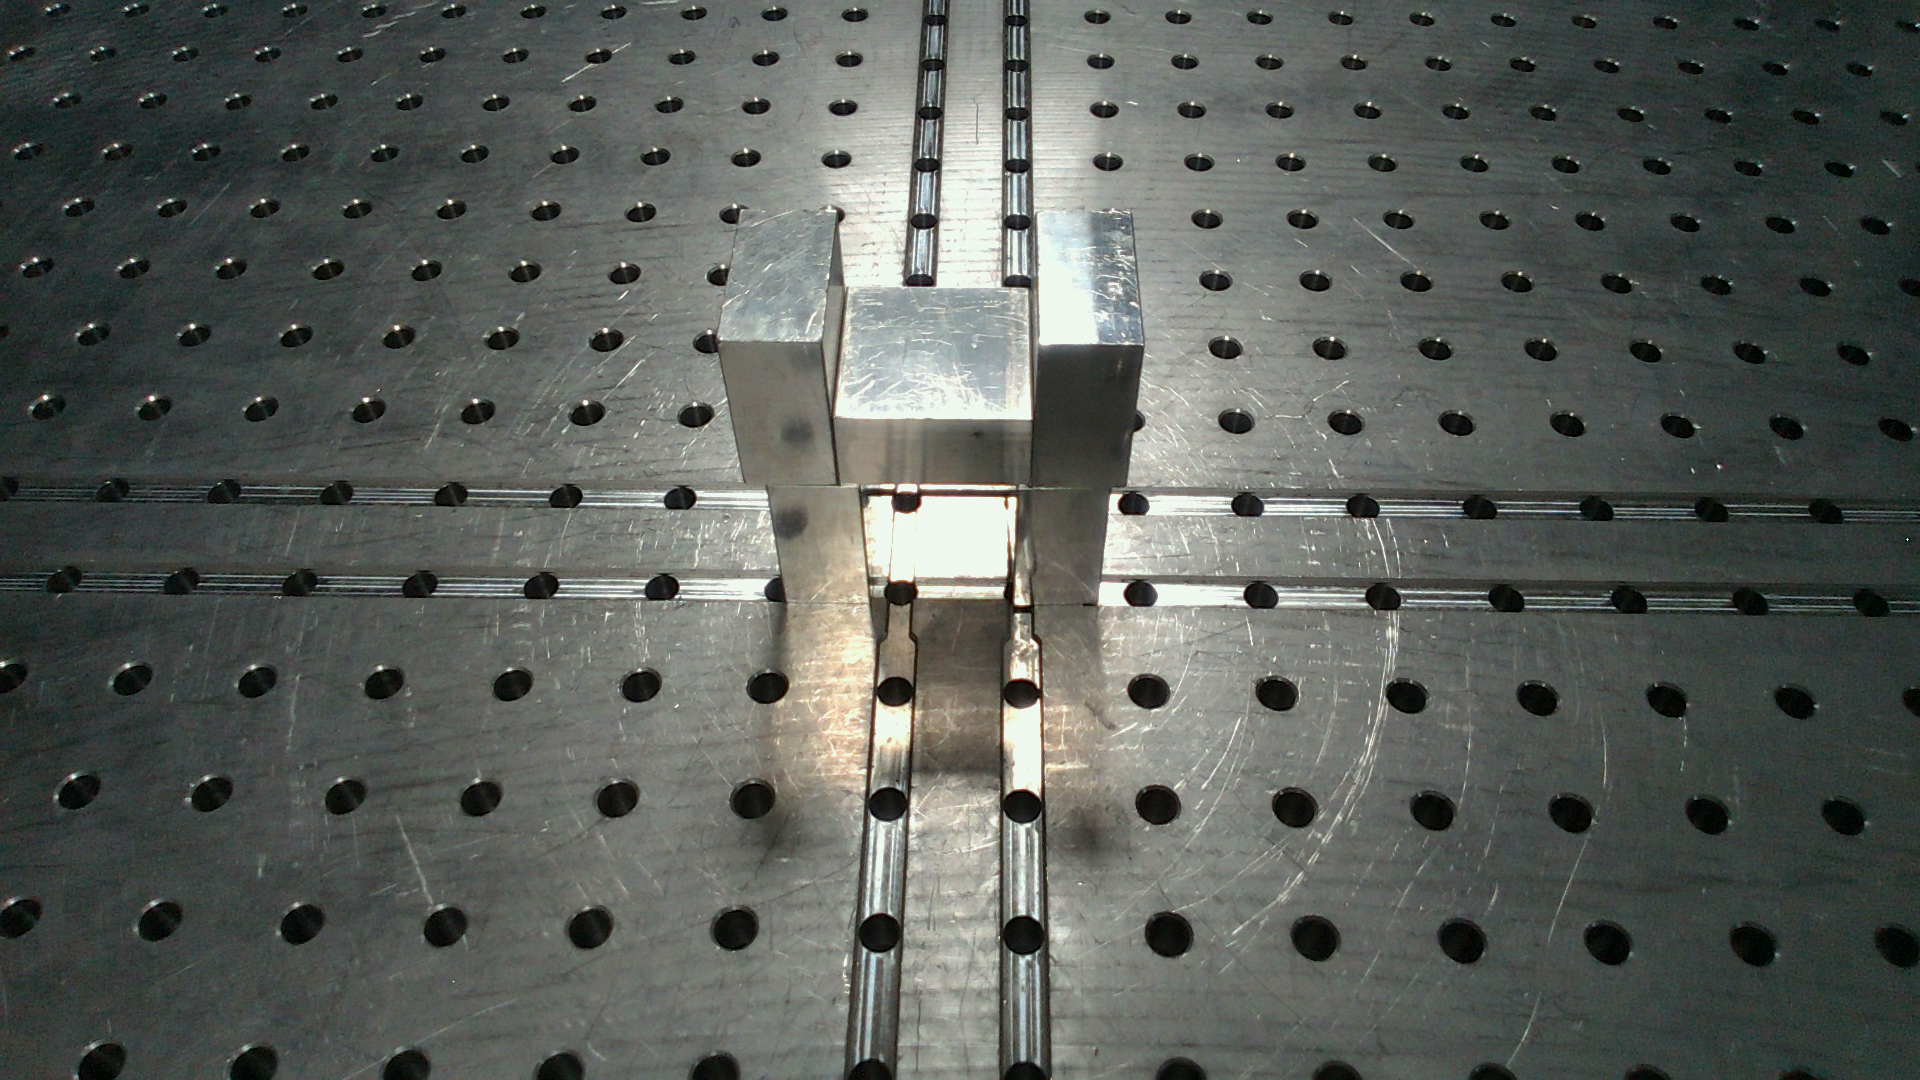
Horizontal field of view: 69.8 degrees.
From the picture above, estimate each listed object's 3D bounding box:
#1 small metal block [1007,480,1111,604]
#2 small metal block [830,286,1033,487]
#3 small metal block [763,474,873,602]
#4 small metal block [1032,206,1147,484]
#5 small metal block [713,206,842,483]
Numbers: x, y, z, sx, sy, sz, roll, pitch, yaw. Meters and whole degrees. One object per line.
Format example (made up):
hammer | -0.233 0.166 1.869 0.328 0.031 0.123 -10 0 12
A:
small metal block | 0.027 -0.017 0.392 0.025 0.050 0.050 -1 50 0
small metal block | -0.007 -0.041 0.365 0.050 0.025 0.050 1 50 1
small metal block | -0.038 -0.017 0.392 0.025 0.050 0.050 0 50 1
small metal block | 0.031 -0.050 0.353 0.025 0.050 0.050 0 49 1
small metal block | -0.044 -0.050 0.354 0.025 0.050 0.050 0 49 1
